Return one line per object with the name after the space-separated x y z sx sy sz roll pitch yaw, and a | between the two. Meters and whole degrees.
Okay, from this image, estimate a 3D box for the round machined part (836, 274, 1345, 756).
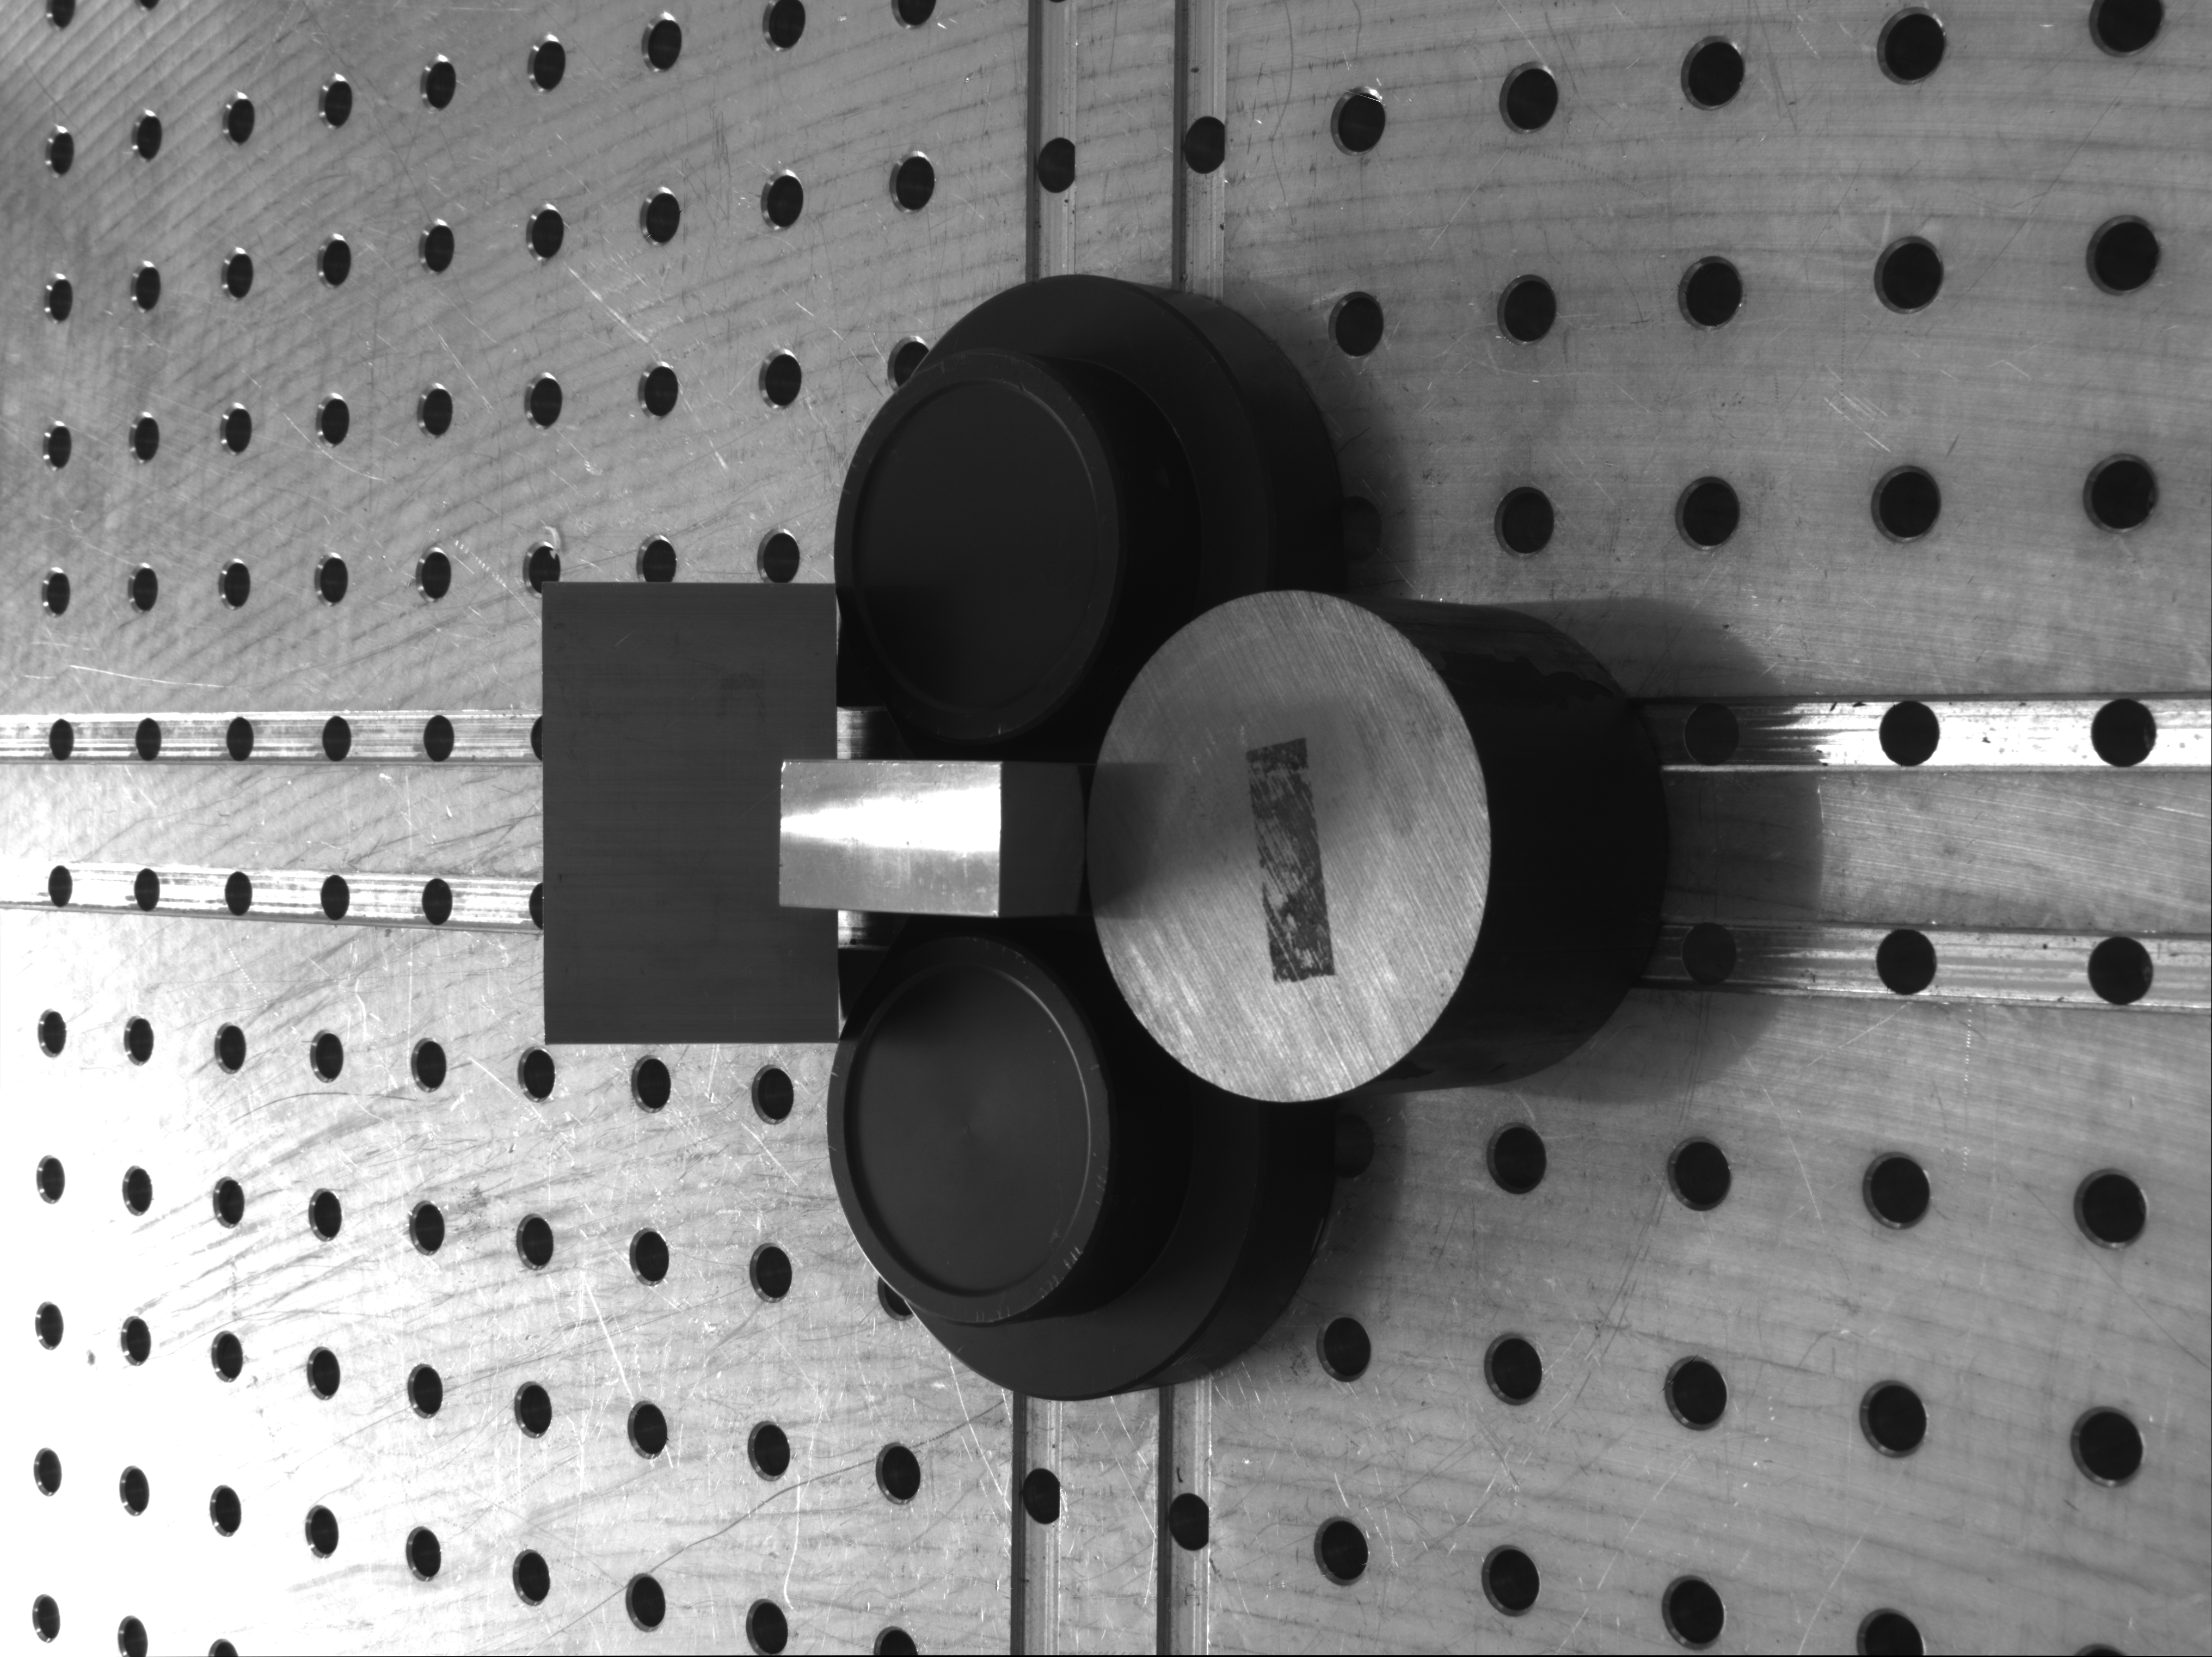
-0.009 -0.048 0.645 0.098 0.042 0.098 0 90 40 | round machined part

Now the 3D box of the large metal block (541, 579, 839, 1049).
-0.074 -0.002 0.667 0.050 0.080 0.080 0 90 -4 | large metal block

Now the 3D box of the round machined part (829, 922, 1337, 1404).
-0.011 0.052 0.646 0.098 0.042 0.098 0 90 40 | round machined part

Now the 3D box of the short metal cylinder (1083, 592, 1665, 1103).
0.043 0.003 0.594 0.080 0.050 0.080 0 90 40 | short metal cylinder

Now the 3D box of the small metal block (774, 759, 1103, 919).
-0.020 0.001 0.620 0.050 0.050 0.025 2 91 40 | small metal block
